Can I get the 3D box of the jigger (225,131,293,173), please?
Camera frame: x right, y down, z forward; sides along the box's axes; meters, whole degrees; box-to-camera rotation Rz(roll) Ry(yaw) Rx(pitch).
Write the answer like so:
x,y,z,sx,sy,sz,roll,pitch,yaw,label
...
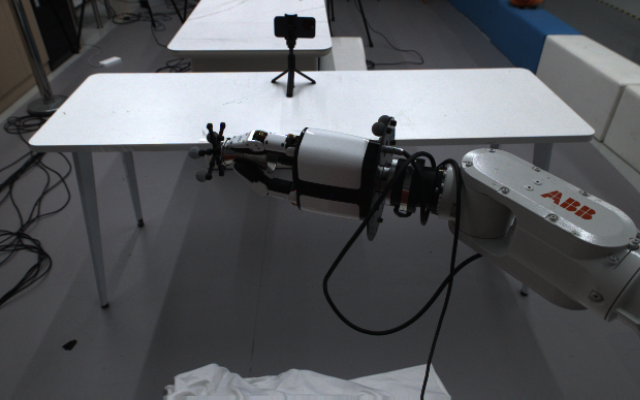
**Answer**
x,y,z,sx,sy,sz,roll,pitch,yaw,label
-0.091,-0.067,0.664,0.071,0.043,0.043,8,35,14,jigger
